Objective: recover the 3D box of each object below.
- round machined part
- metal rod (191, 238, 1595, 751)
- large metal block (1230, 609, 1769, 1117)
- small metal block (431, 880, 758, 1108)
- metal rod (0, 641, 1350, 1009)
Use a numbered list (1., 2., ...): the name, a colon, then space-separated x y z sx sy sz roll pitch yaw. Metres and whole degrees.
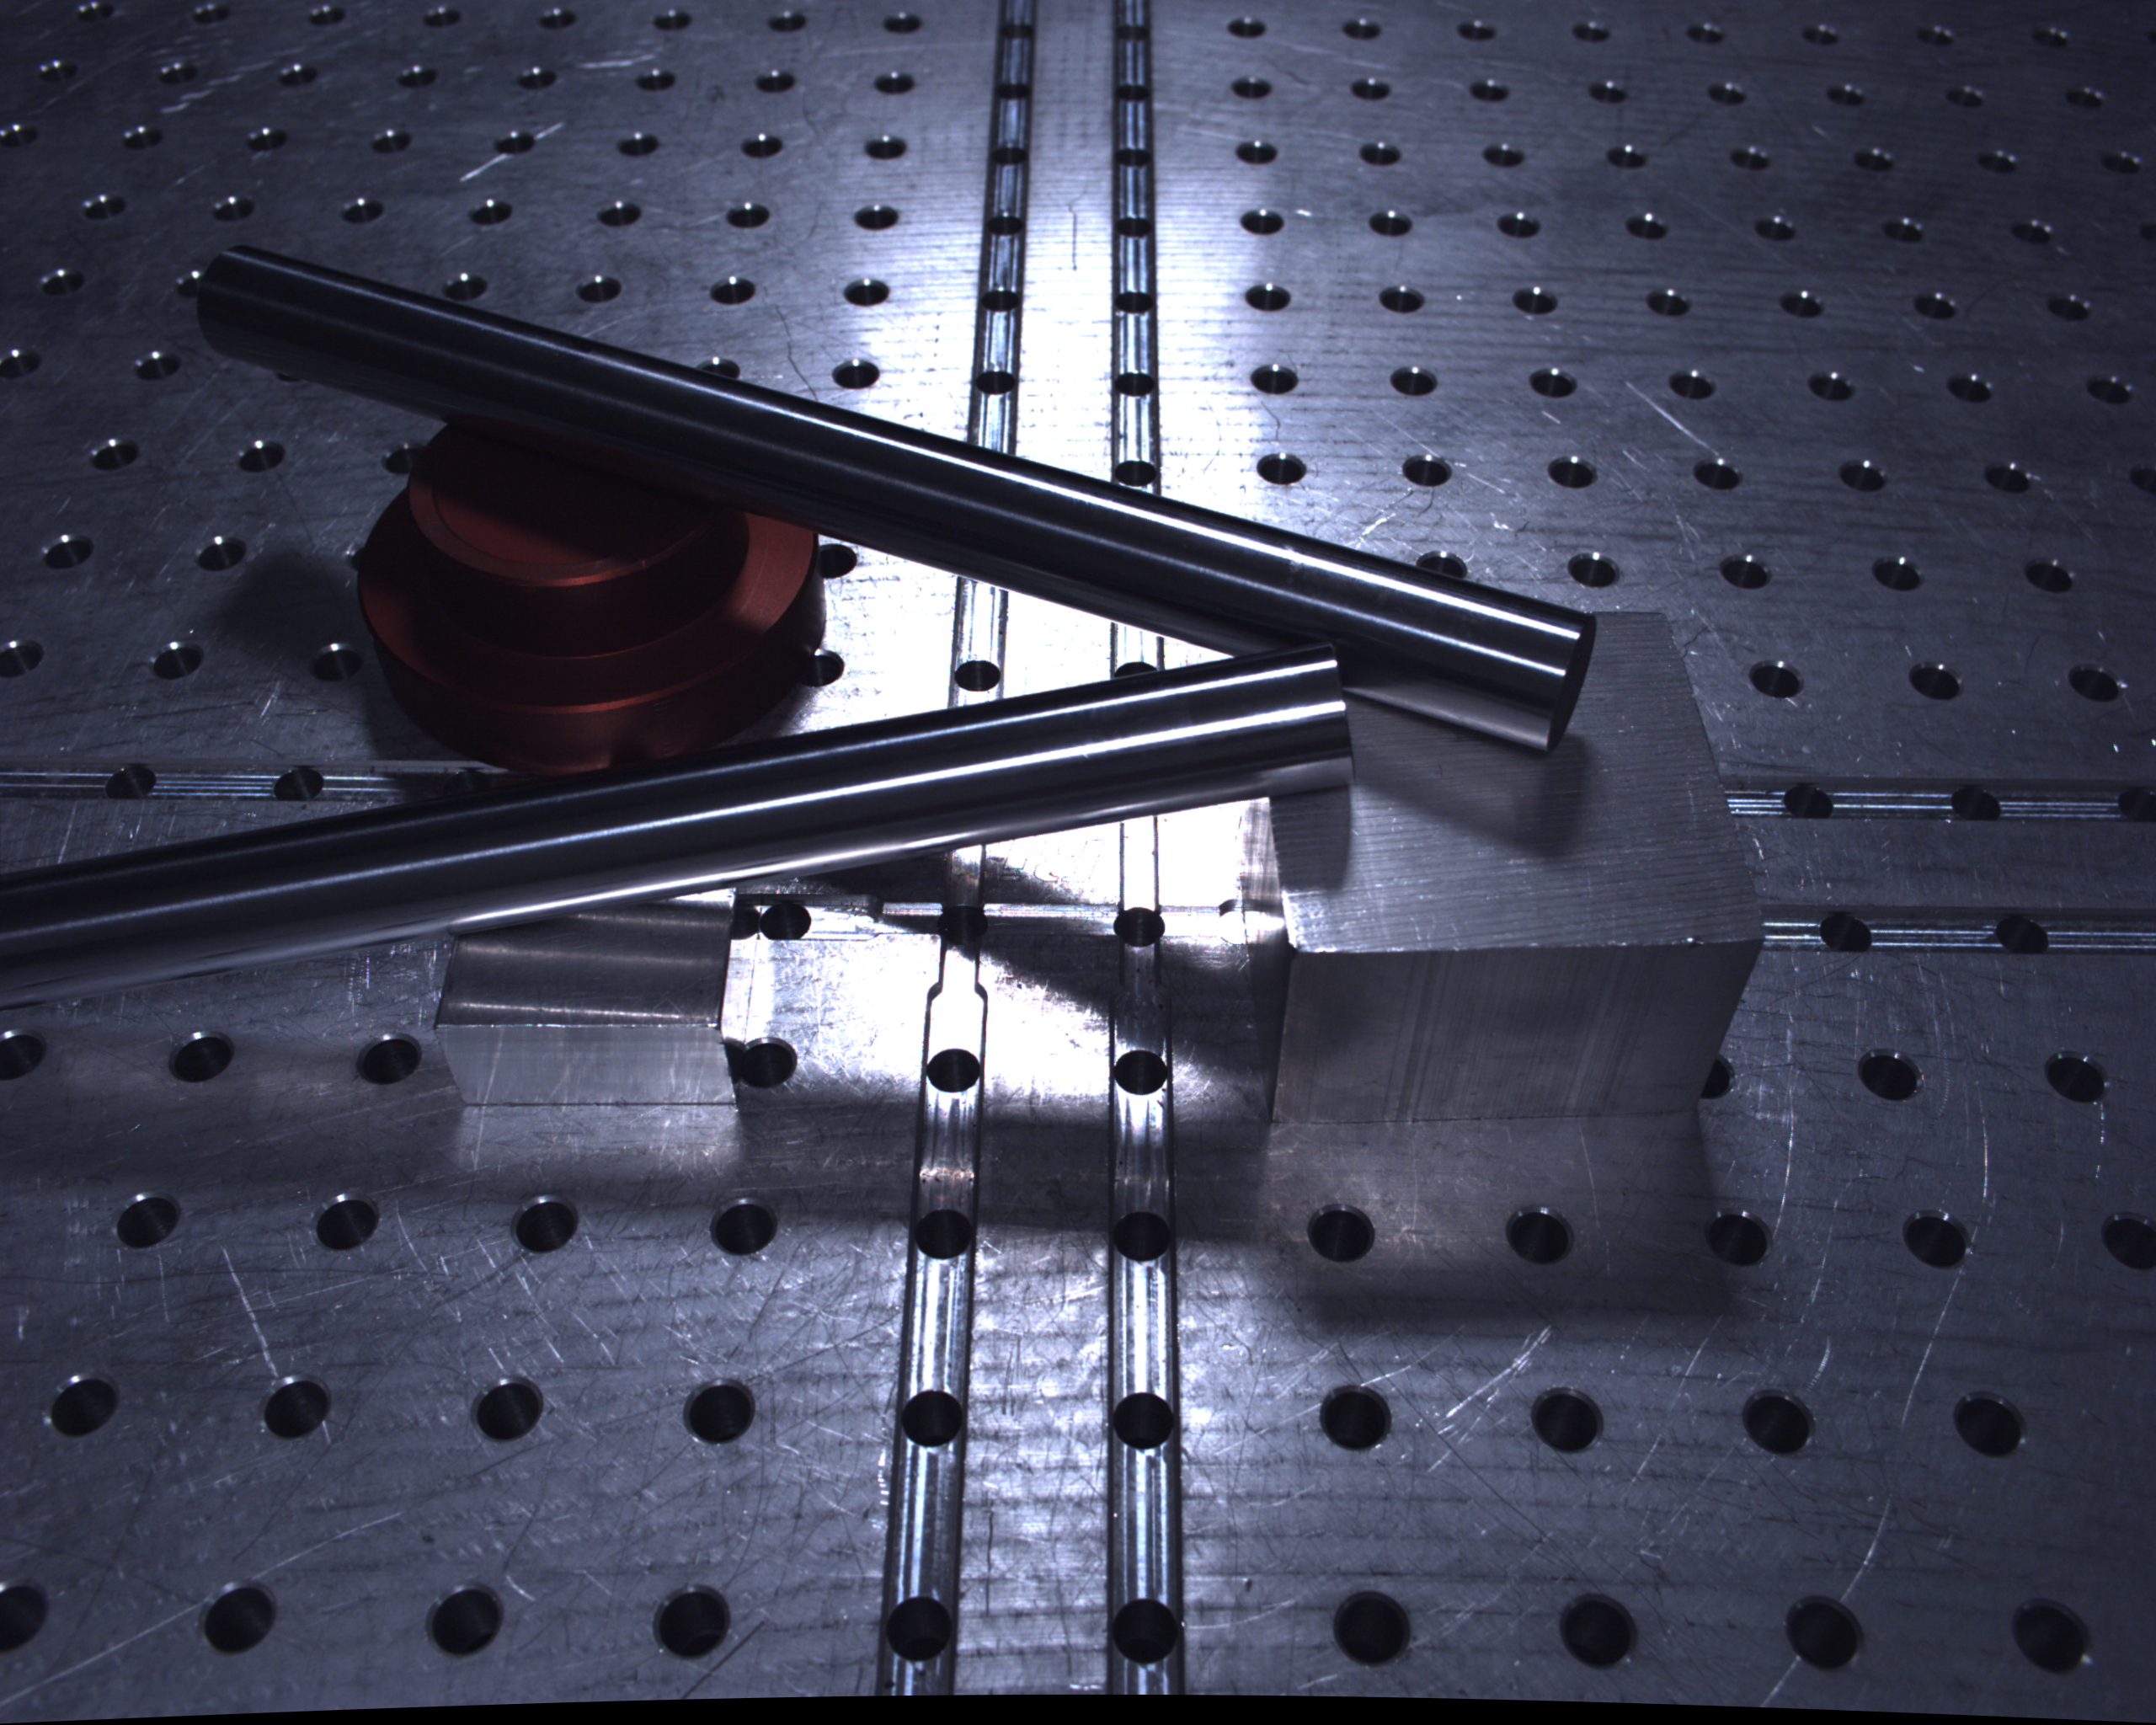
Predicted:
1. round machined part: -0.107 -0.068 0.452 0.099 0.042 0.098 0 50 0
2. metal rod: -0.049 -0.078 0.410 0.301 0.025 0.025 19 52 18
3. large metal block: 0.073 -0.001 0.389 0.081 0.050 0.080 -1 50 -2
4. small metal block: -0.089 0.018 0.392 0.050 0.025 0.050 0 50 -1
5. metal rod: -0.104 -0.001 0.372 0.302 0.025 0.025 -9 50 5
